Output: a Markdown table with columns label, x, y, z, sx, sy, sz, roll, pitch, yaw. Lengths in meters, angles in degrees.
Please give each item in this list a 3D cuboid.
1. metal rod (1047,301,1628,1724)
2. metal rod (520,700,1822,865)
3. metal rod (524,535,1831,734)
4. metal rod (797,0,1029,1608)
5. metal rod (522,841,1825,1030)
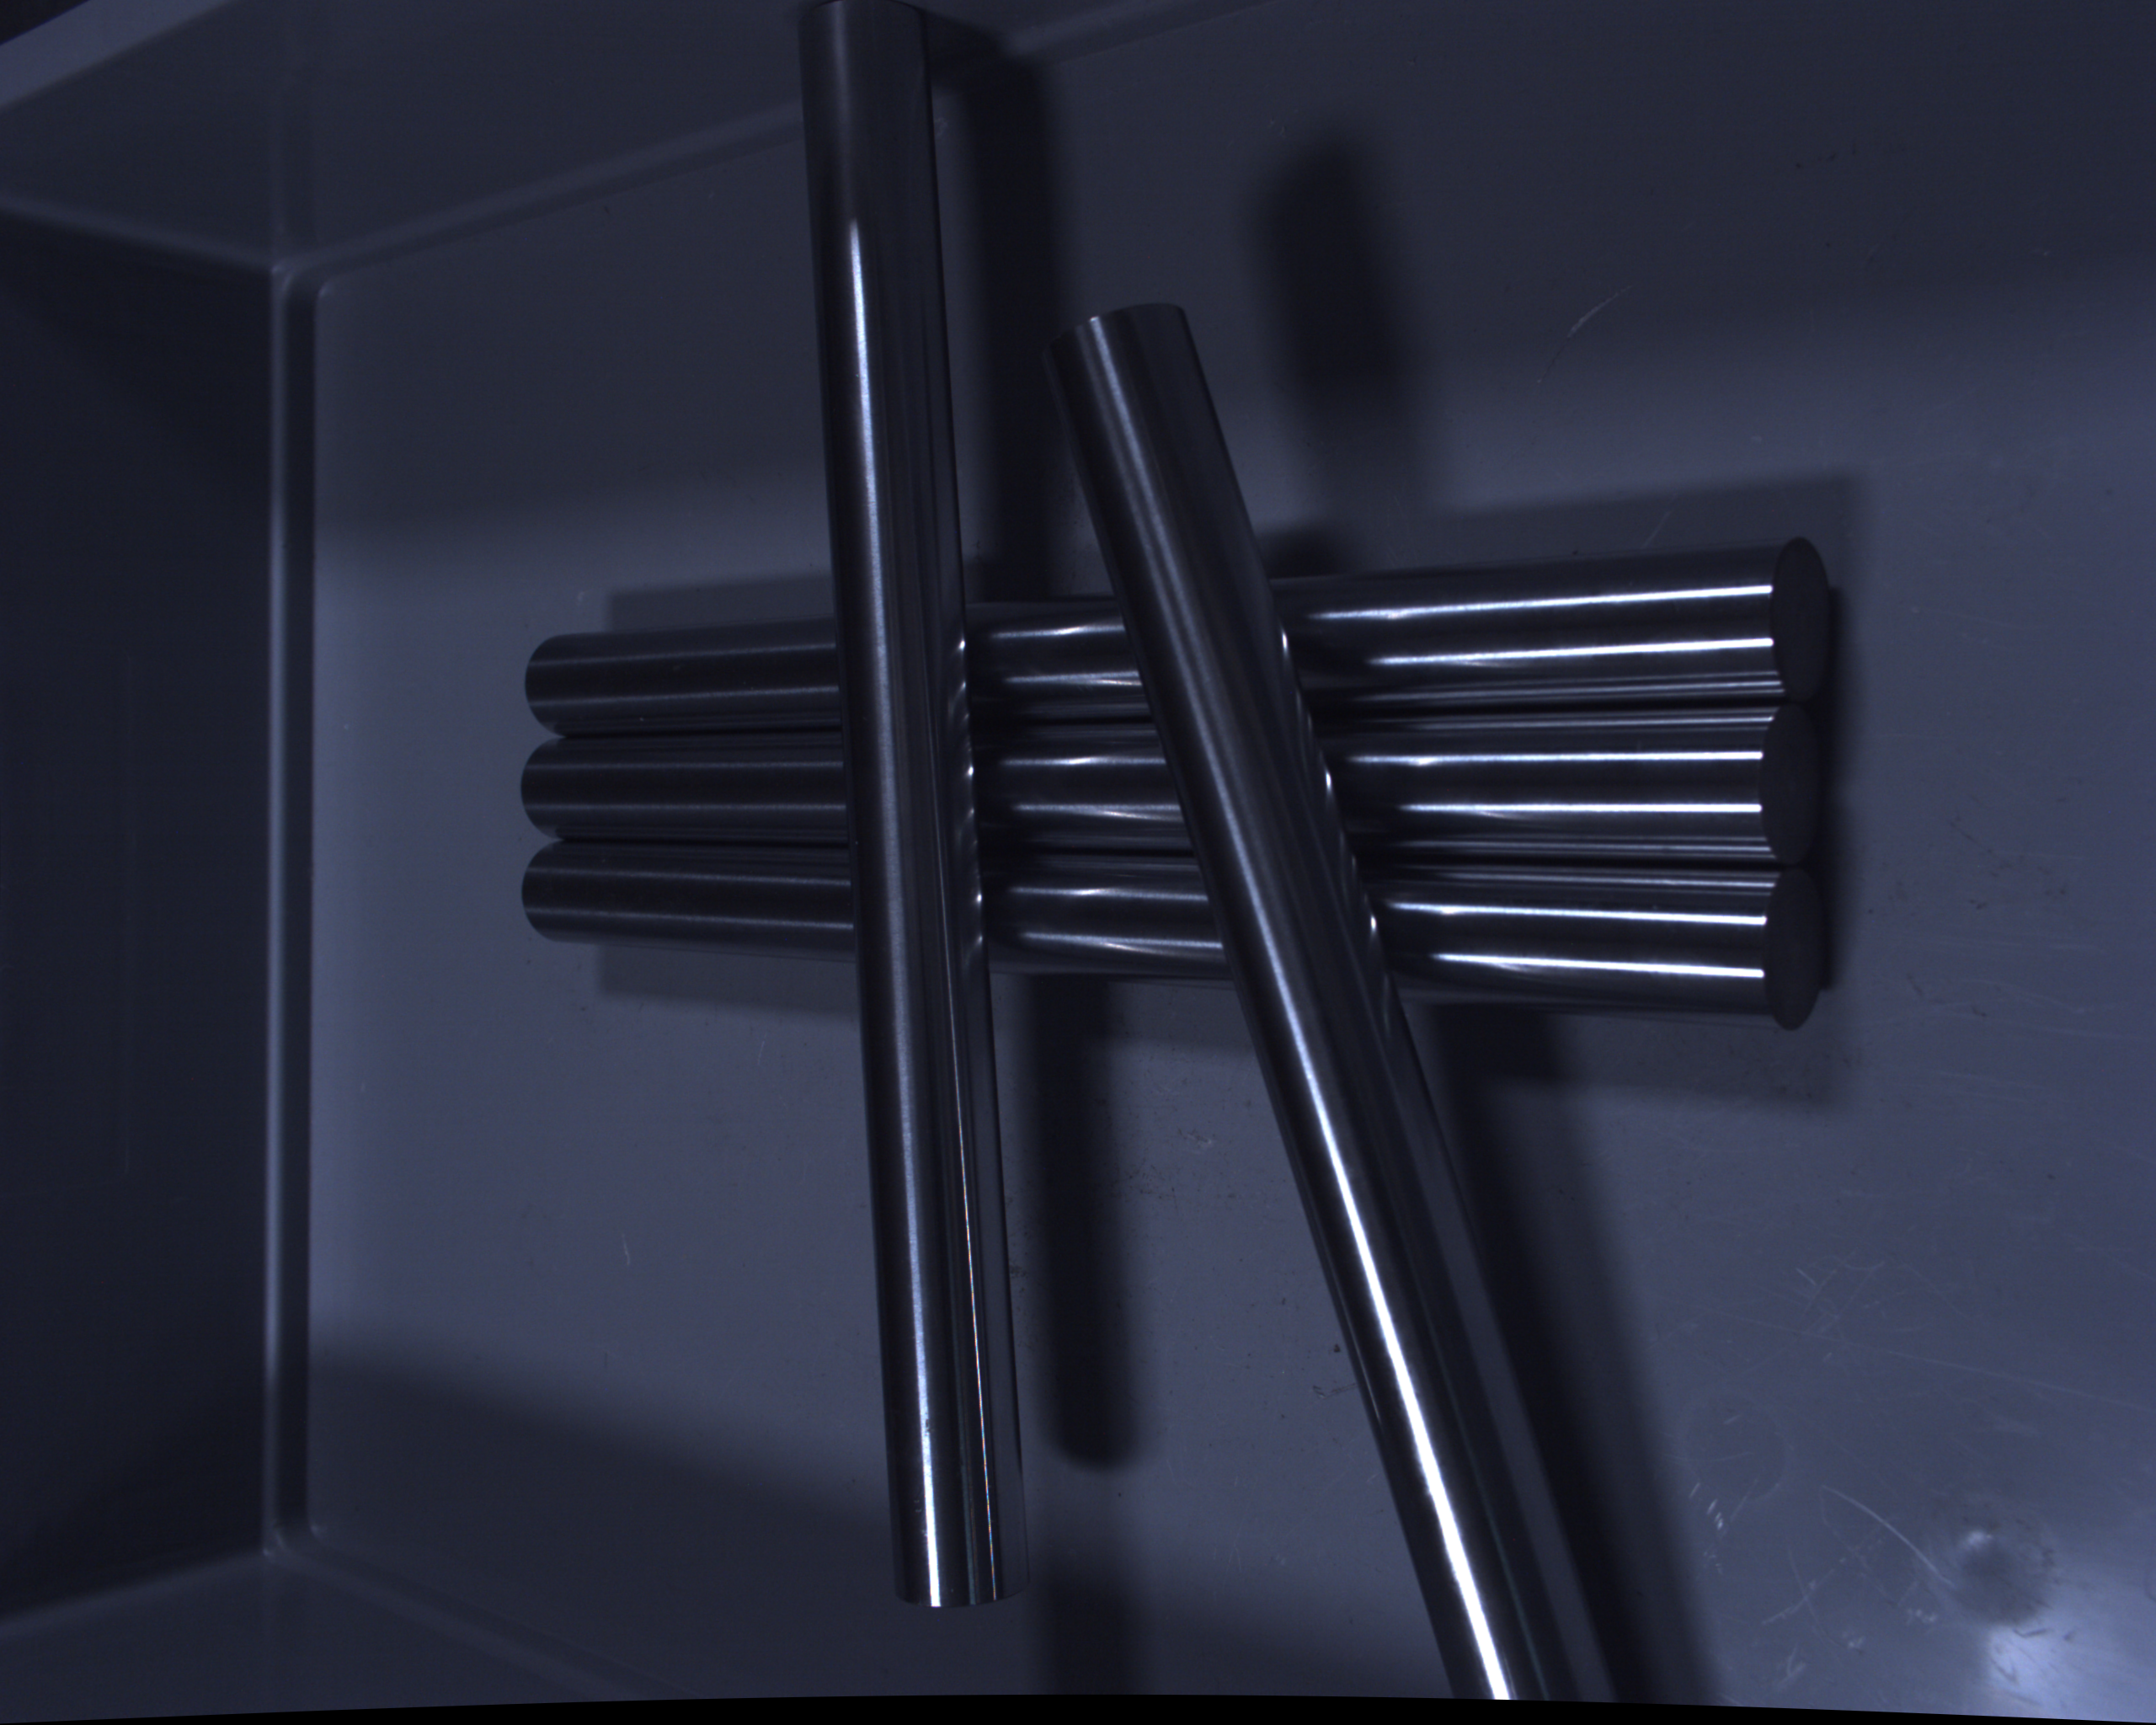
| label | x | y | z | sx | sy | sz | roll | pitch | yaw |
| --- | --- | --- | --- | --- | --- | --- | --- | --- | --- |
| metal rod | 0.049 | 0.054 | 0.337 | 0.025 | 0.025 | 0.298 | -20 | 84 | 38 |
| metal rod | -0.008 | -0.015 | 0.410 | 0.300 | 0.025 | 0.025 | 1 | 91 | 39 |
| metal rod | -0.007 | -0.040 | 0.409 | 0.300 | 0.025 | 0.025 | 1 | 91 | 39 |
| metal rod | -0.032 | -0.014 | 0.396 | 0.025 | 0.025 | 0.298 | -7 | 86 | 39 |
| metal rod | -0.008 | 0.010 | 0.410 | 0.300 | 0.025 | 0.025 | 1 | 91 | 39 |
